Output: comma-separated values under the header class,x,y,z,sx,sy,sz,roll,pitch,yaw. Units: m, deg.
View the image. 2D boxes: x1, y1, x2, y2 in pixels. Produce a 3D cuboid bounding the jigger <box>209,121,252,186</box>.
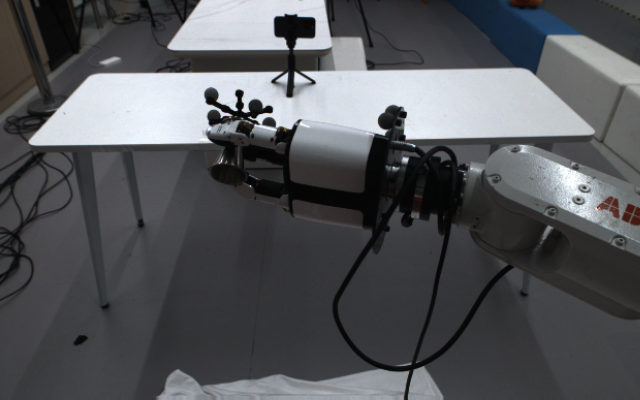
class,x,y,z,sx,sy,sz,roll,pitch,yaw
jigger,-0.101,-0.059,0.560,0.043,0.043,0.071,4,60,2
